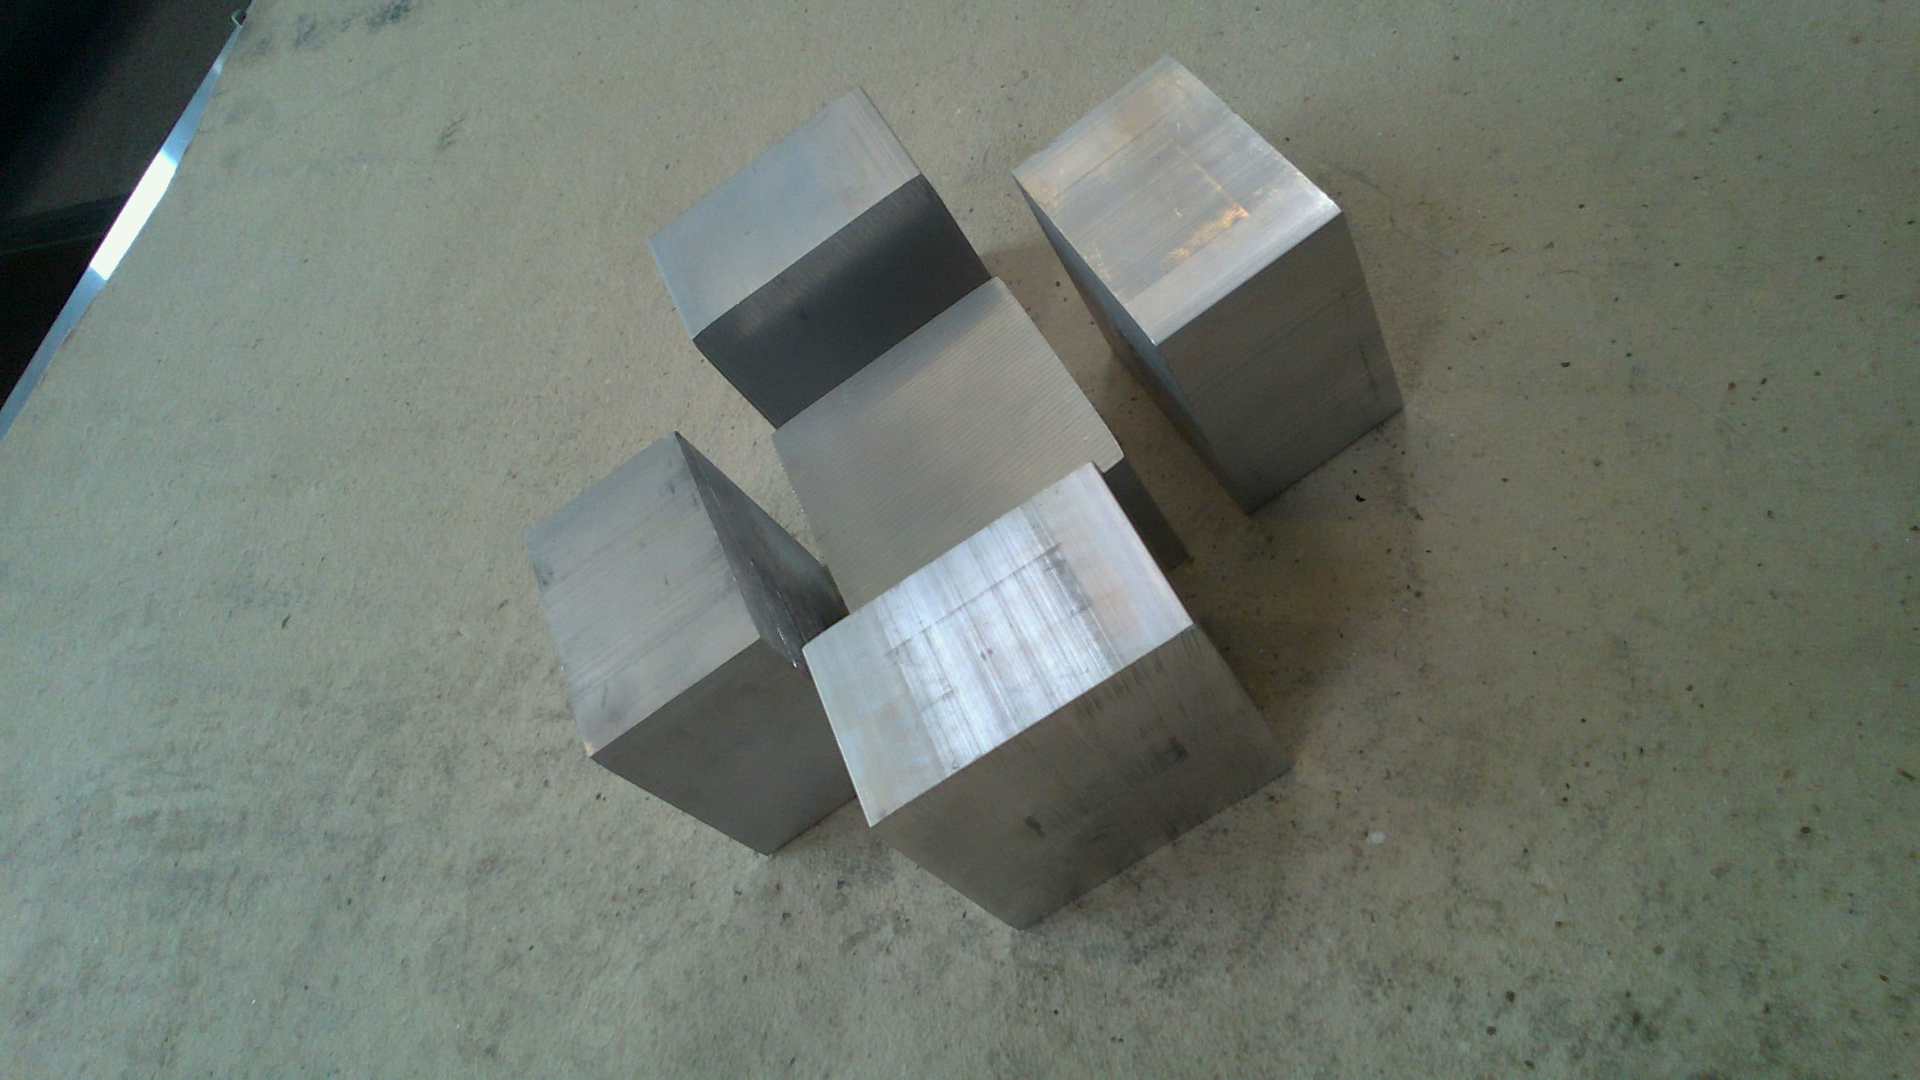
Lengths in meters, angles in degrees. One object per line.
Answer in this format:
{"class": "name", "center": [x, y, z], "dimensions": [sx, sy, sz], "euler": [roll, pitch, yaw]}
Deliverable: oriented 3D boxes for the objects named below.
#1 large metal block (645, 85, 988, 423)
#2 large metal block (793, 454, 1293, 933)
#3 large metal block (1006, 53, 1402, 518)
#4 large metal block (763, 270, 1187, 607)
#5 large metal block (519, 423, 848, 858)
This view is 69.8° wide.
{"class": "large metal block", "center": [-0.036, -0.076, 0.426], "dimensions": [0.080, 0.080, 0.050], "euler": [-34, 51, 6]}
{"class": "large metal block", "center": [0.021, 0.039, 0.322], "dimensions": [0.080, 0.080, 0.050], "euler": [-33, 50, 7]}
{"class": "large metal block", "center": [0.065, -0.066, 0.364], "dimensions": [0.050, 0.080, 0.080], "euler": [-35, 51, 5]}
{"class": "large metal block", "center": [0.003, -0.014, 0.382], "dimensions": [0.080, 0.050, 0.080], "euler": [-34, 51, 6]}
{"class": "large metal block", "center": [-0.066, 0.029, 0.376], "dimensions": [0.050, 0.080, 0.080], "euler": [-35, 51, 6]}
